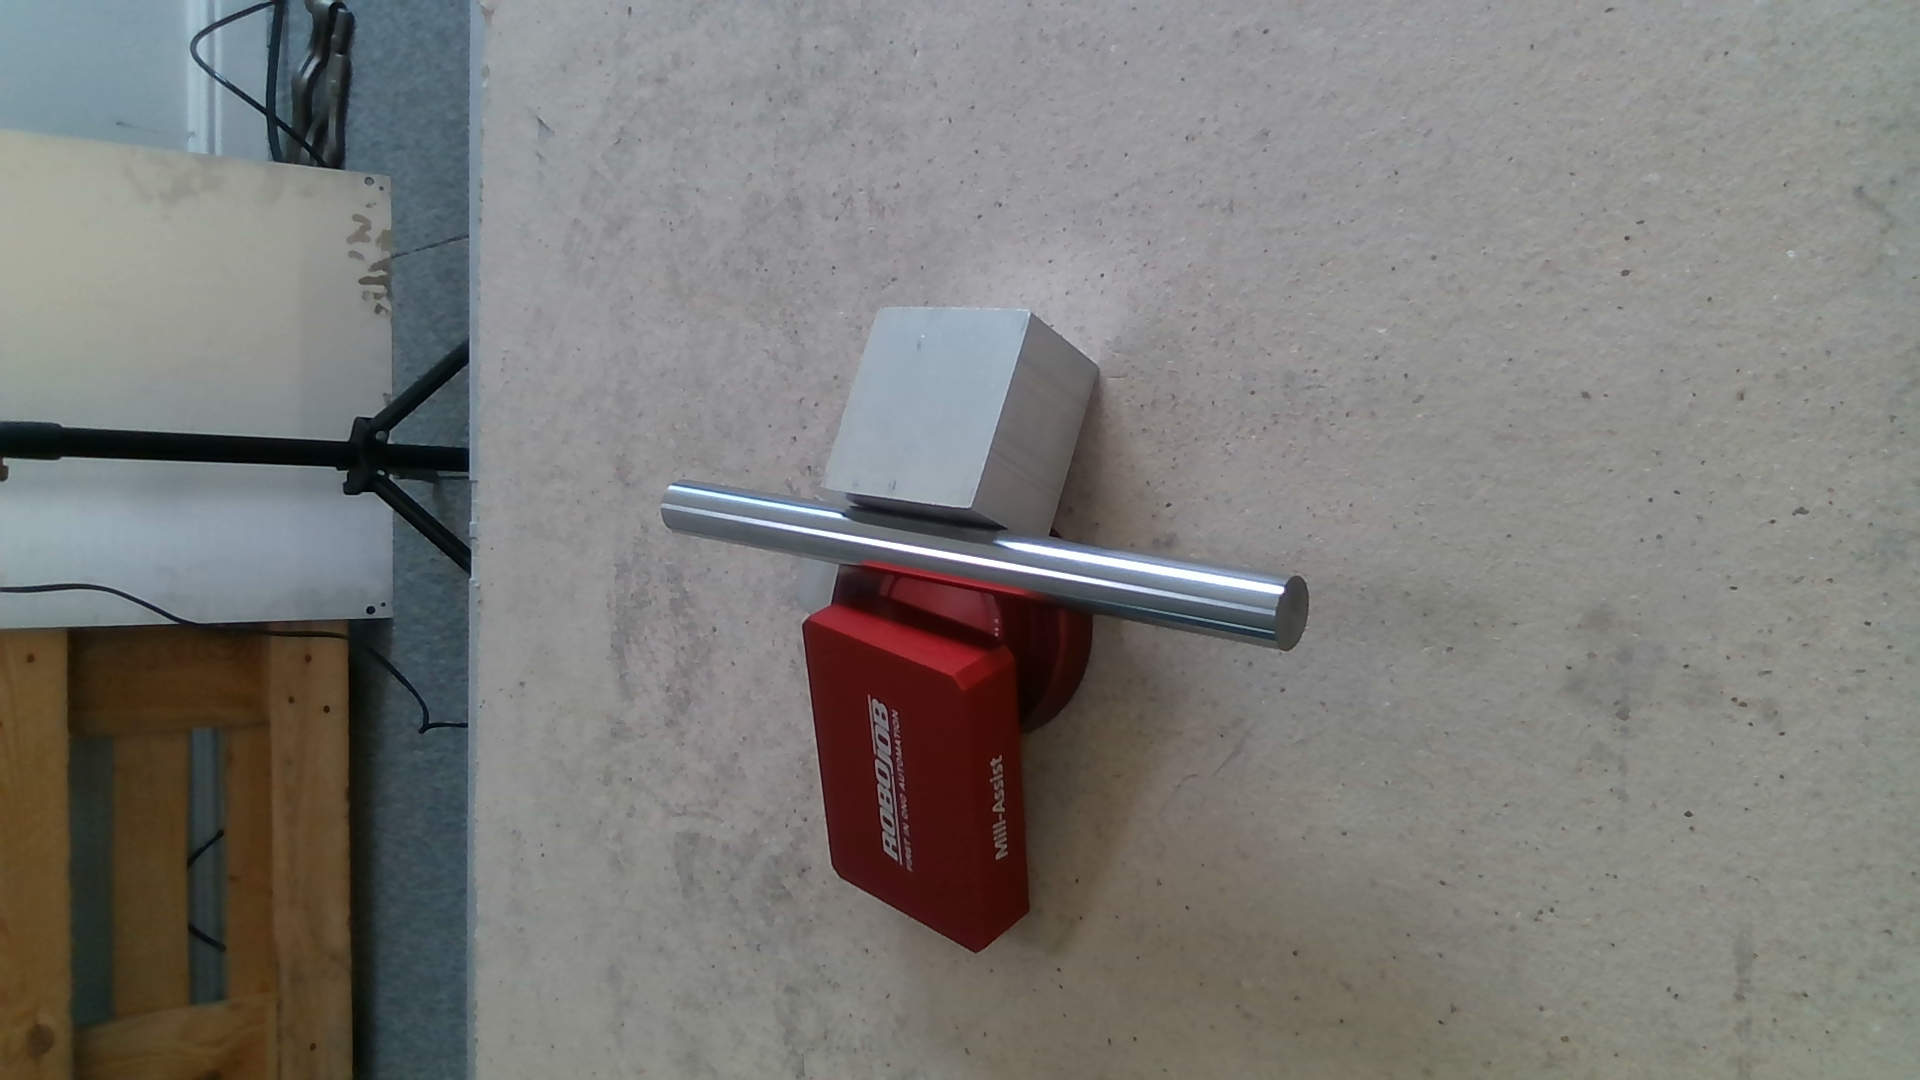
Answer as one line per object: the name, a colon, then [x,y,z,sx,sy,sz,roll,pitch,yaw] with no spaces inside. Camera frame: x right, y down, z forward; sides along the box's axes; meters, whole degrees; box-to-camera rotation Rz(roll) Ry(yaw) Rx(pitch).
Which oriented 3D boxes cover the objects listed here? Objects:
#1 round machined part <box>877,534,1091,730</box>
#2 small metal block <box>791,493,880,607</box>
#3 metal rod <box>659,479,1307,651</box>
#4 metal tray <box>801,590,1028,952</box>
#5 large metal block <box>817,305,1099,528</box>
round machined part: [0.002,0.034,0.569,0.098,0.042,0.098,0,91,40]
small metal block: [-0.052,0.010,0.614,0.050,0.025,0.050,32,112,63]
metal rod: [-0.010,0.004,0.536,0.300,0.025,0.025,9,96,38]
metal tray: [-0.018,0.094,0.567,0.090,0.030,0.130,17,122,40]
large metal block: [-0.001,-0.046,0.552,0.080,0.050,0.080,9,78,40]
